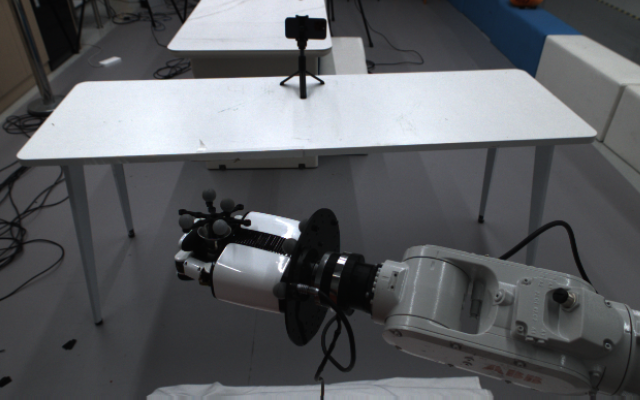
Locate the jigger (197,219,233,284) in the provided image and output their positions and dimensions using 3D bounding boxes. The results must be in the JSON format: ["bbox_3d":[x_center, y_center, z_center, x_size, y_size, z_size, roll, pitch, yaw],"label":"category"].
[{"bbox_3d":[-0.127,0.067,0.598,0.043,0.071,0.043,5,26,-3],"label":"jigger"}]
